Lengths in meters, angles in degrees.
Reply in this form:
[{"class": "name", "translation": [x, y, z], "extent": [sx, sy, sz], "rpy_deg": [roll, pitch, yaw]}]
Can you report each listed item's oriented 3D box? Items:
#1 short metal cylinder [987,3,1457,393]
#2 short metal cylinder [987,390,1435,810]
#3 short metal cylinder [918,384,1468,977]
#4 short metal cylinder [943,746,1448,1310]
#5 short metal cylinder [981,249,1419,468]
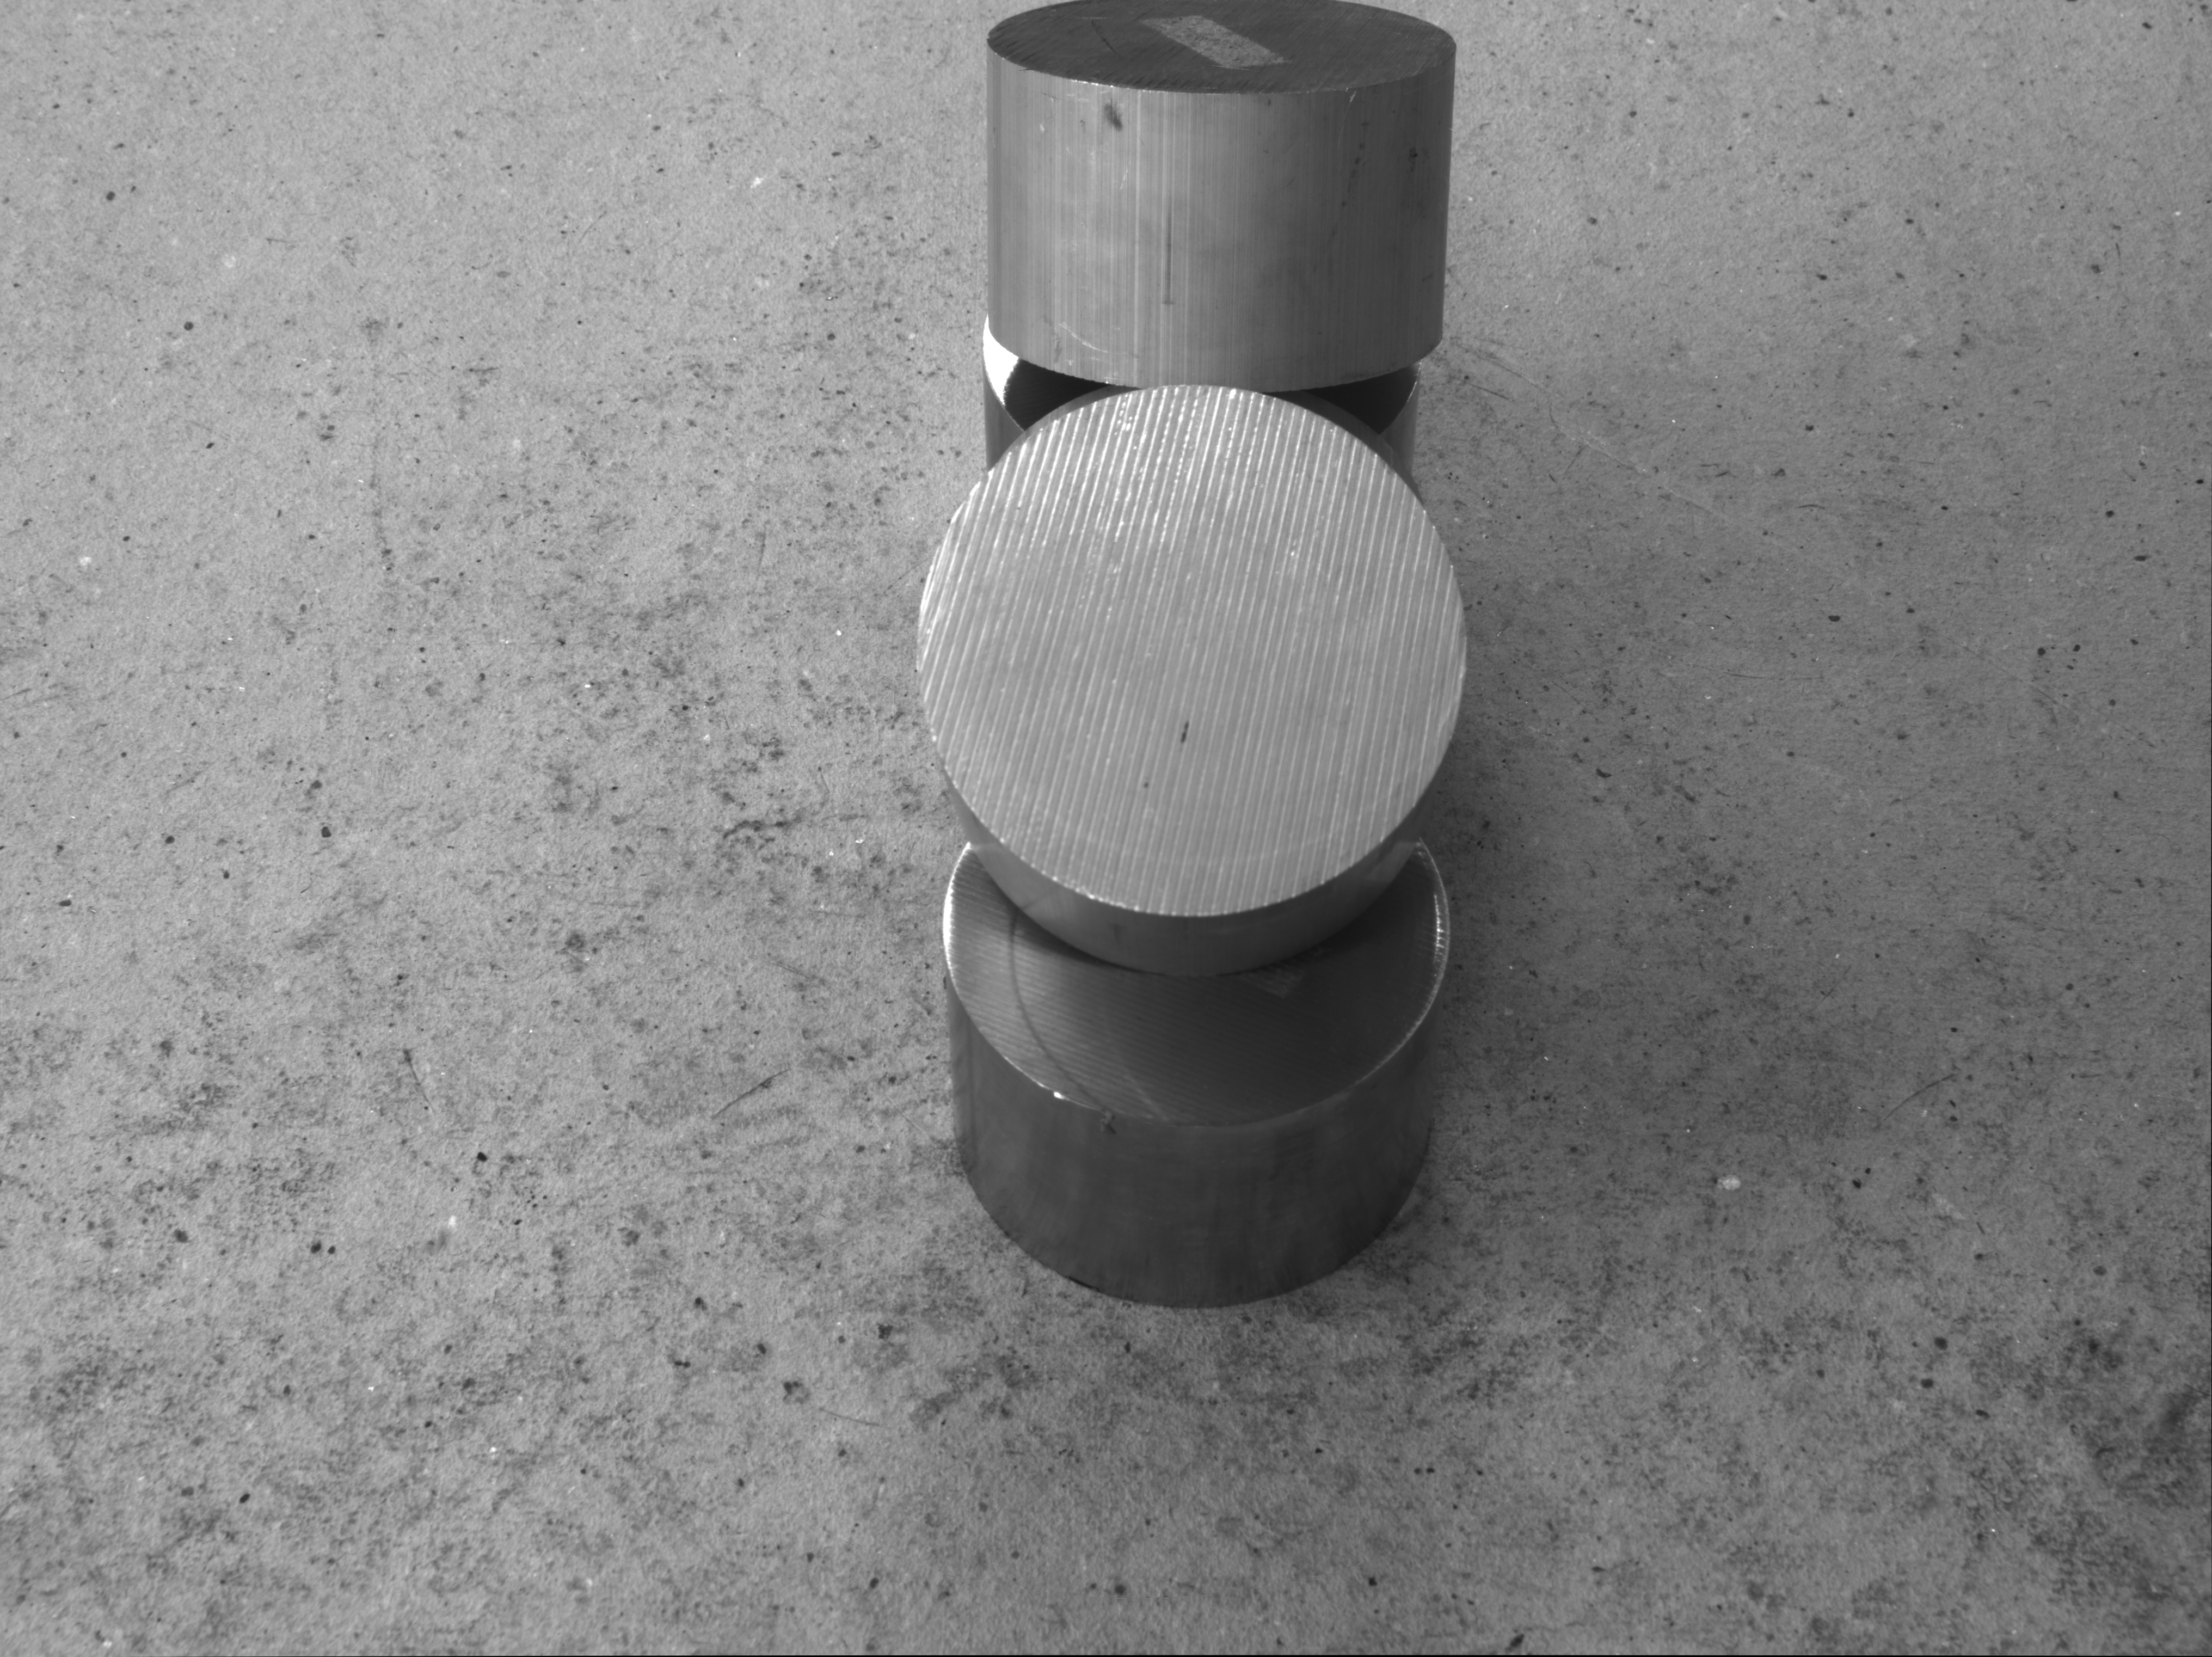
[{"class": "short metal cylinder", "translation": [0.019, -0.111, 0.635], "extent": [0.080, 0.050, 0.080], "rpy_deg": [1, 24, 0]}, {"class": "short metal cylinder", "translation": [0.016, -0.032, 0.634], "extent": [0.080, 0.080, 0.050], "rpy_deg": [1, 50, 1]}, {"class": "short metal cylinder", "translation": [0.013, -0.021, 0.557], "extent": [0.080, 0.050, 0.080], "rpy_deg": [0, 78, 1]}, {"class": "short metal cylinder", "translation": [0.014, 0.031, 0.600], "extent": [0.080, 0.050, 0.080], "rpy_deg": [0, 50, 0]}, {"class": "short metal cylinder", "translation": [0.017, -0.072, 0.687], "extent": [0.080, 0.050, 0.080], "rpy_deg": [0, 50, 0]}]
